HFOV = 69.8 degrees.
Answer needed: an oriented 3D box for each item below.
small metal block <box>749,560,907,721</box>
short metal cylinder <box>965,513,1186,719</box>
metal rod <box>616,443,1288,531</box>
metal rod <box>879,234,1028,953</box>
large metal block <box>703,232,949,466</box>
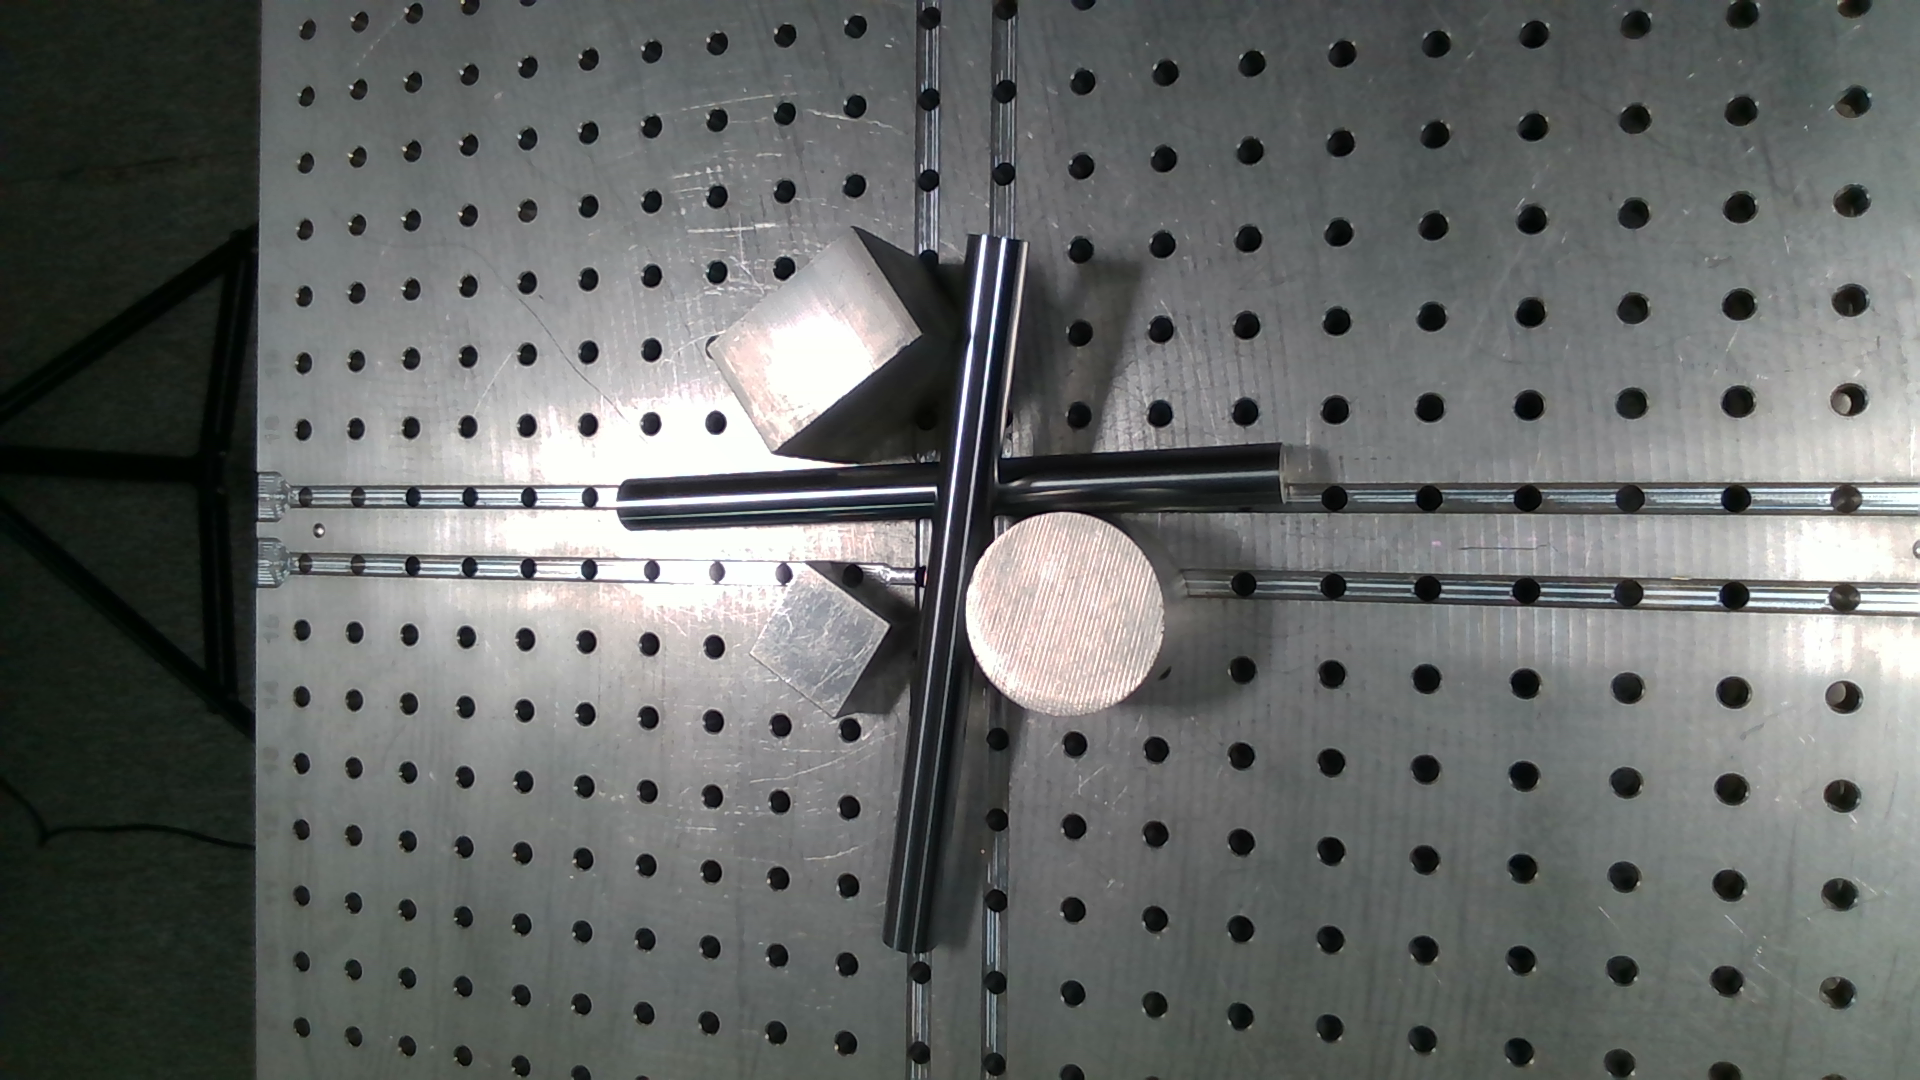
[{"bbox_3d":[-0.057,0.044,0.610,0.050,0.025,0.050,35,102,17],"label":"small metal block"},{"bbox_3d":[0.048,0.029,0.557,0.080,0.050,0.080,0,90,20],"label":"short metal cylinder"},{"bbox_3d":[-0.013,-0.021,0.593,0.300,0.025,0.025,-2,90,20],"label":"metal rod"},{"bbox_3d":[-0.004,0.027,0.570,0.025,0.025,0.300,11,102,20],"label":"metal rod"},{"bbox_3d":[-0.045,-0.075,0.573,0.080,0.080,0.050,-37,78,17],"label":"large metal block"}]
